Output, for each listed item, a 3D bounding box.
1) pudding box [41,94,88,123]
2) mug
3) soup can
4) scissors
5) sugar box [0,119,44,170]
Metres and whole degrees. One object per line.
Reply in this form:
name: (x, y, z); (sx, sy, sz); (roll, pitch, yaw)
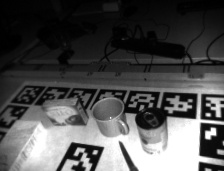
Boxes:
pudding box: (-0.140, 0.070, 0.650); (0.113, 0.091, 0.038); (-7, 48, 11)
mug: (0.002, 0.075, 0.609); (0.093, 0.082, 0.116); (-26, 40, -6)
soup can: (0.101, 0.101, 0.544); (0.067, 0.103, 0.067); (-10, 40, 9)
scissors: (0.063, 0.191, 0.507); (0.088, 0.016, 0.200); (-35, 44, -6)
sugar box: (-0.278, 0.178, 0.620); (0.092, 0.046, 0.176); (-3, 44, 18)
